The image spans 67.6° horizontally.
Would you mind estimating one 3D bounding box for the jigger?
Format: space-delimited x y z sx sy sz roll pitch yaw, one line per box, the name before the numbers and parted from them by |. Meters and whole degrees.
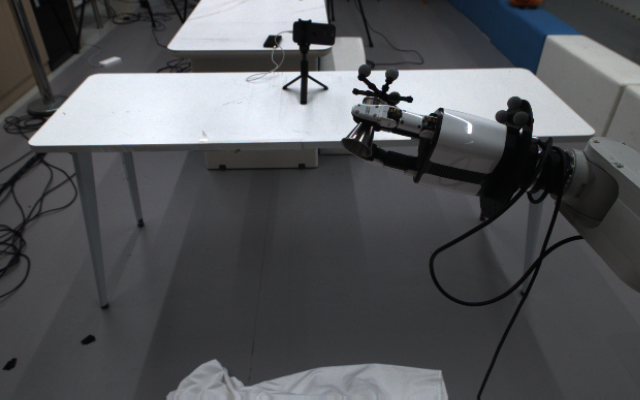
jigger | 0.061 -0.099 0.634 0.043 0.043 0.071 19 72 23
